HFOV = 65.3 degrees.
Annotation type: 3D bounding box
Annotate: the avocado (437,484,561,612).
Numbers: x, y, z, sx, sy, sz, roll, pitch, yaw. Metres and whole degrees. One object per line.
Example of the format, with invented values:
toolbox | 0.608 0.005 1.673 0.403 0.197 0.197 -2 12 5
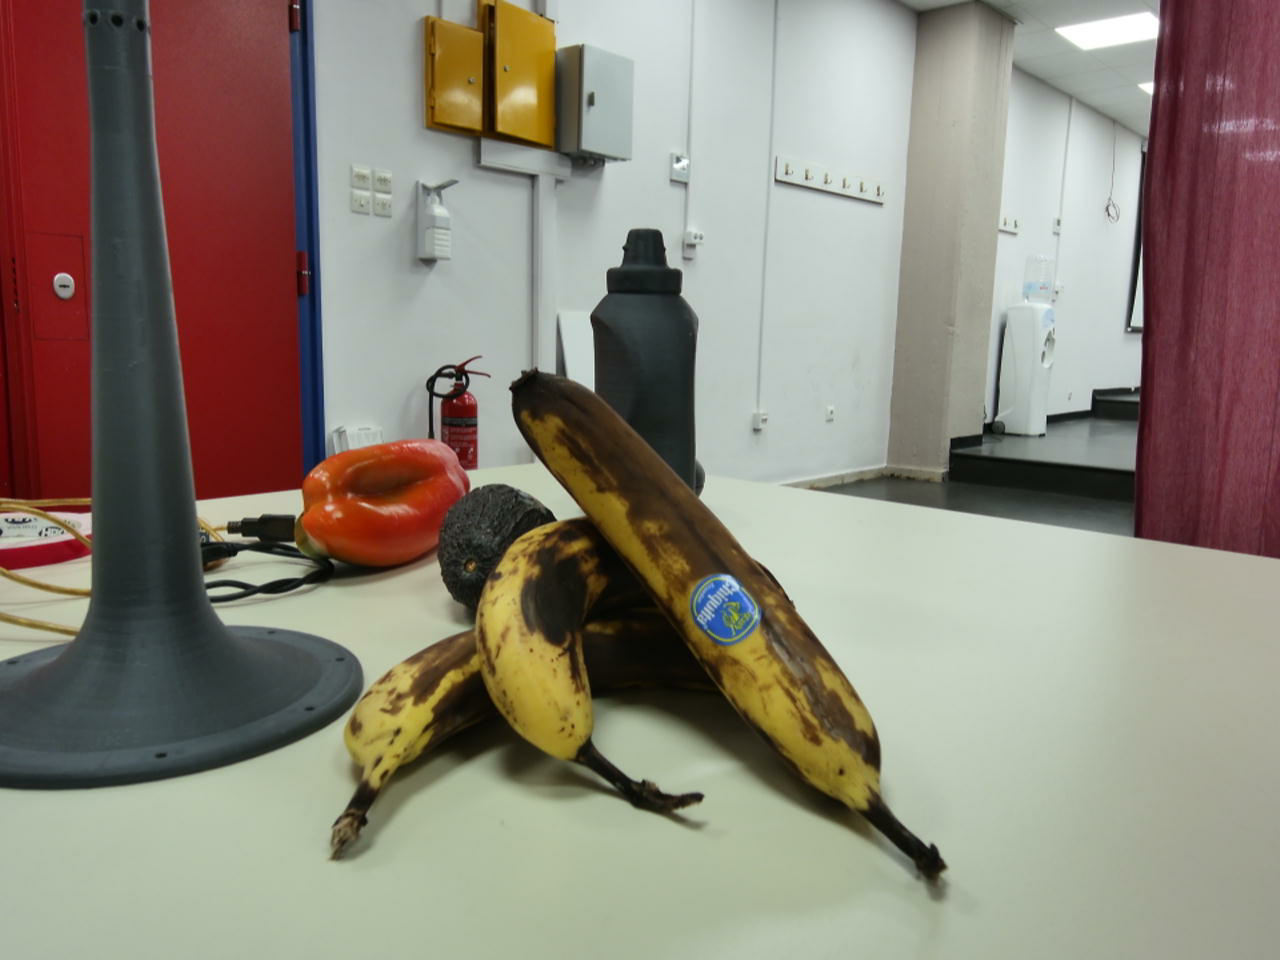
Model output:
avocado | -0.075 0.034 0.513 0.062 0.062 0.092 3 7 18
